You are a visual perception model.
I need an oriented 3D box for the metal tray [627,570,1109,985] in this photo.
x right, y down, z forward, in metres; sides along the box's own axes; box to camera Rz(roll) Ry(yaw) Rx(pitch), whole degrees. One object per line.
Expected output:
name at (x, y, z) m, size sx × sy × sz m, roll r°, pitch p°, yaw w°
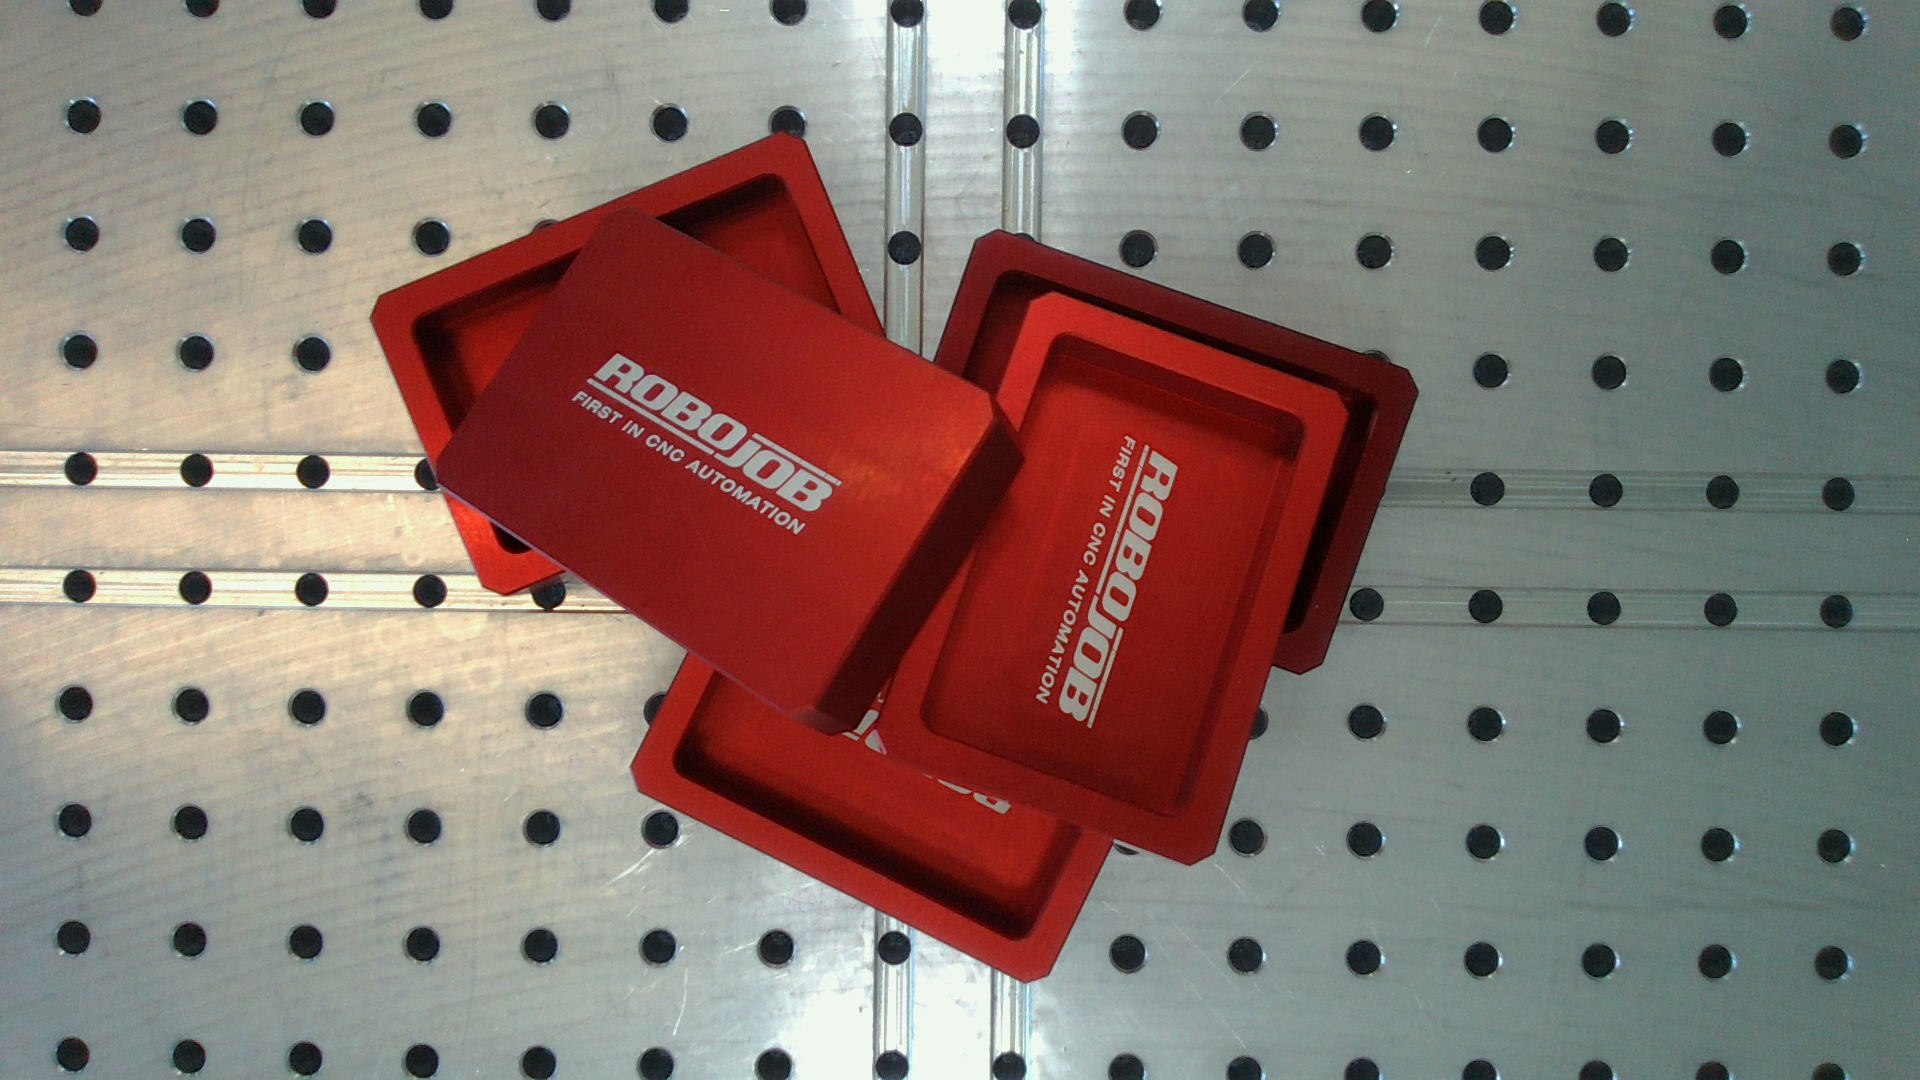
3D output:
metal tray at (-0.016, 0.057, 0.395) m, size 0.130 × 0.030 × 0.090 m, roll 26°, pitch 90°, yaw 0°

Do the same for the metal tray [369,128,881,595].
metal tray at (-0.088, -0.049, 0.394) m, size 0.130 × 0.030 × 0.090 m, roll -22°, pitch 90°, yaw 0°

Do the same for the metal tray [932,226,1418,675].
metal tray at (0.052, -0.025, 0.394) m, size 0.130 × 0.030 × 0.090 m, roll 19°, pitch 90°, yaw 1°

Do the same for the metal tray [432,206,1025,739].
metal tray at (-0.061, -0.020, 0.354) m, size 0.130 × 0.030 × 0.090 m, roll 29°, pitch 82°, yaw 22°

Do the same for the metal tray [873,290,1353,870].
metal tray at (0.040, 0.010, 0.364) m, size 0.090 × 0.030 × 0.130 m, roll 20°, pitch 79°, yaw 0°
